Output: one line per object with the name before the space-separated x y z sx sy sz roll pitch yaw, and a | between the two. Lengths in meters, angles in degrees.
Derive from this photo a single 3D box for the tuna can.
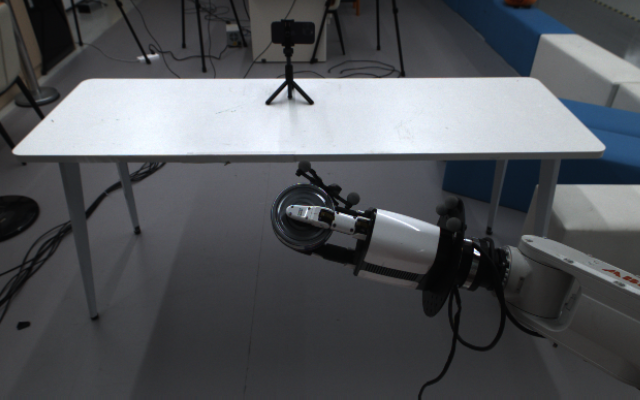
tuna can | -0.019 0.021 0.634 0.085 0.034 0.085 0 73 0
